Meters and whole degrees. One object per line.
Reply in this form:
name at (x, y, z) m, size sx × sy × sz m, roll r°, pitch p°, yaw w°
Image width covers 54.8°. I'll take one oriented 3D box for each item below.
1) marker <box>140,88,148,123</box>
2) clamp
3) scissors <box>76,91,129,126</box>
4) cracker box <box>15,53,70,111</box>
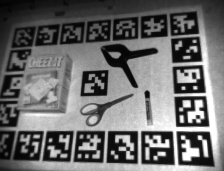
marker at (0.108, 0.065, 0.729) m, size 0.019 × 0.020 × 0.120 m, roll -5°, pitch 69°, yaw 11°
clamp at (0.029, -0.112, 0.816) m, size 0.201 × 0.037 × 0.165 m, roll 29°, pitch 77°, yaw 19°
scissors at (-0.030, 0.065, 0.760) m, size 0.203 × 0.016 × 0.087 m, roll -28°, pitch 66°, yaw -1°
cracker box at (-0.258, -0.013, 0.809) m, size 0.163 × 0.072 × 0.213 m, roll 0°, pitch 70°, yaw 12°
